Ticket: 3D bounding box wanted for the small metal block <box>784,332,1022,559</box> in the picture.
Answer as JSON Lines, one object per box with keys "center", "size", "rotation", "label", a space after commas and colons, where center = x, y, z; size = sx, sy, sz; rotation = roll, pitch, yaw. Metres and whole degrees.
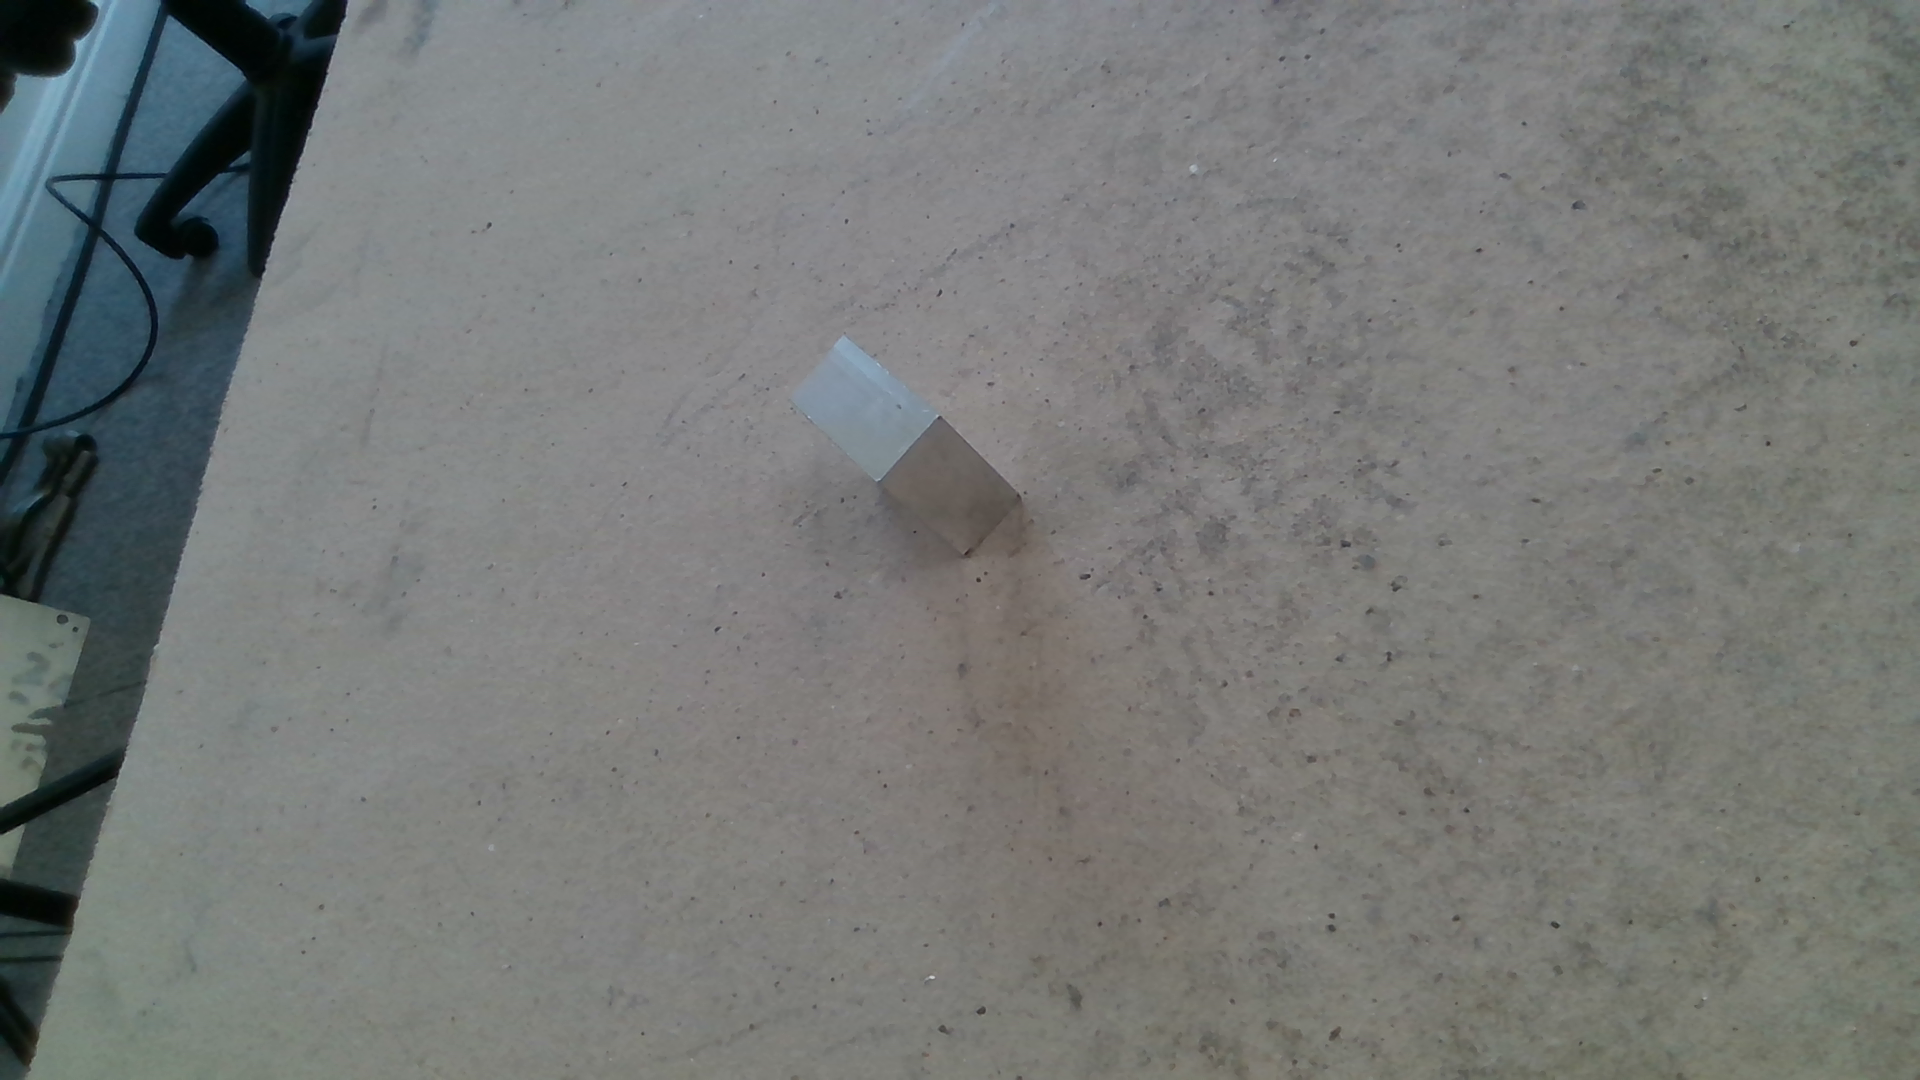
{"center": [-0.016, -0.027, 0.401], "size": [0.025, 0.050, 0.050], "rotation": [-48, 51, 1], "label": "small metal block"}
